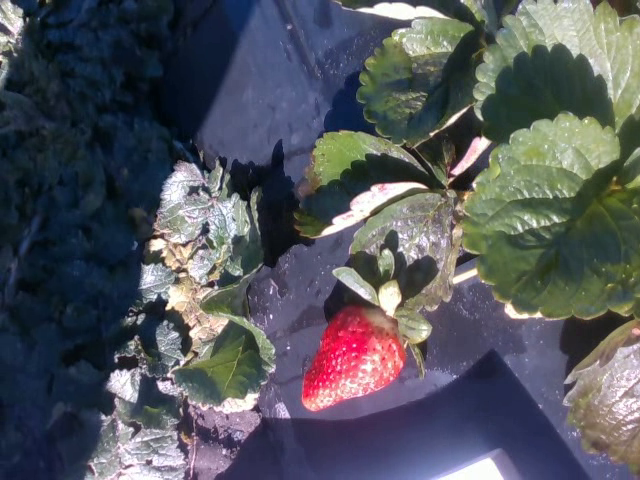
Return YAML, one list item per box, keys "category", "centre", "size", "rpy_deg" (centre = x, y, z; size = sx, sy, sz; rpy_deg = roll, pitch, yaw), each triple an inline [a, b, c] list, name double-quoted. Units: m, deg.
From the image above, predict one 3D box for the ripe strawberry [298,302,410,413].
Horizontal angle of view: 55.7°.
- category: "ripe strawberry"
  centre: [0.013, 0.059, 0.287]
  size: [0.048, 0.069, 0.040]
  rpy_deg: [45, 13, 27]
